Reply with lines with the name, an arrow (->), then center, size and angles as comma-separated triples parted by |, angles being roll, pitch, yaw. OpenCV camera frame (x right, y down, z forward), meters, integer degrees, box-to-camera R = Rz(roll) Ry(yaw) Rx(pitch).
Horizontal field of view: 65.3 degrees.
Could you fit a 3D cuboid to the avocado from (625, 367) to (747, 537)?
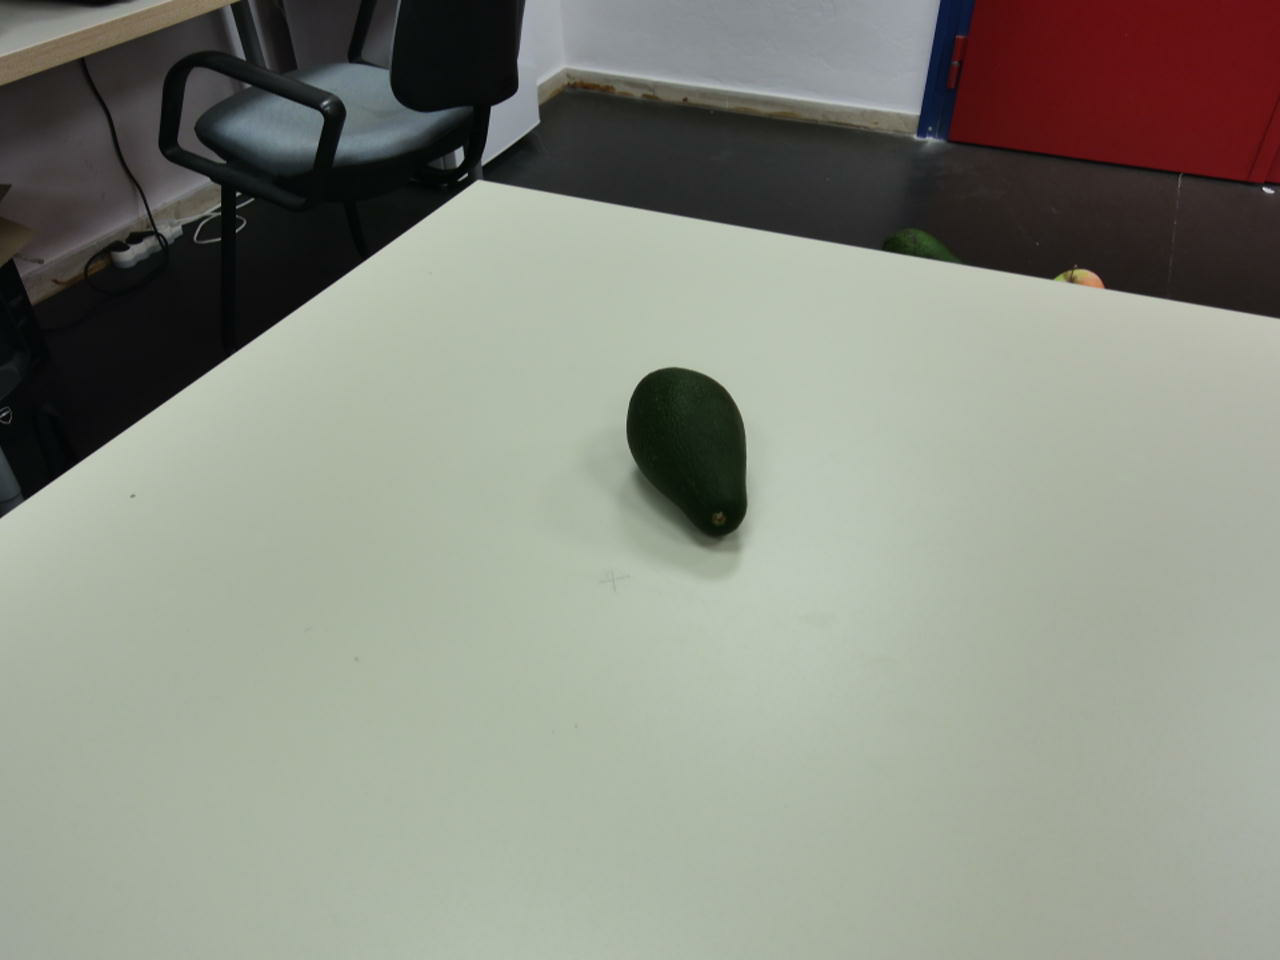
avocado -> 0.026, -0.021, 0.590 | 0.072, 0.071, 0.109 | 0, 38, 2
